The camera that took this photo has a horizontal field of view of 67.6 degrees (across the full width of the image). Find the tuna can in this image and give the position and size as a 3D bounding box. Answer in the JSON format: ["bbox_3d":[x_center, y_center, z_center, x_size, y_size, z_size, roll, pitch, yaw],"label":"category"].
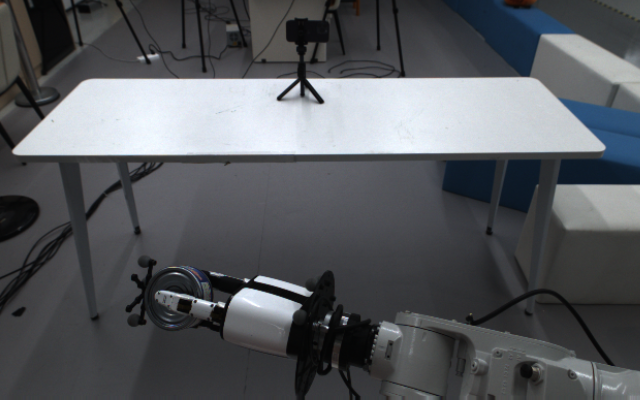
[{"bbox_3d":[-0.187,0.130,0.646,0.085,0.085,0.034,10,-5,11],"label":"tuna can"}]
